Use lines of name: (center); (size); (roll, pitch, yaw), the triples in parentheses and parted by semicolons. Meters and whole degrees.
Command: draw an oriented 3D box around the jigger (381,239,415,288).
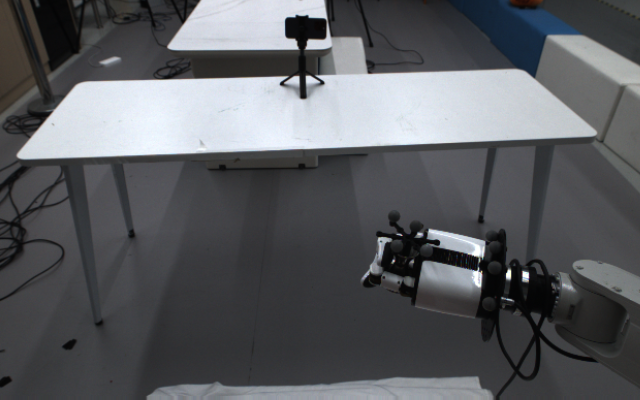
jigger: (0.118, 0.096, 0.704); (0.043, 0.071, 0.043); (7, 32, -4)
